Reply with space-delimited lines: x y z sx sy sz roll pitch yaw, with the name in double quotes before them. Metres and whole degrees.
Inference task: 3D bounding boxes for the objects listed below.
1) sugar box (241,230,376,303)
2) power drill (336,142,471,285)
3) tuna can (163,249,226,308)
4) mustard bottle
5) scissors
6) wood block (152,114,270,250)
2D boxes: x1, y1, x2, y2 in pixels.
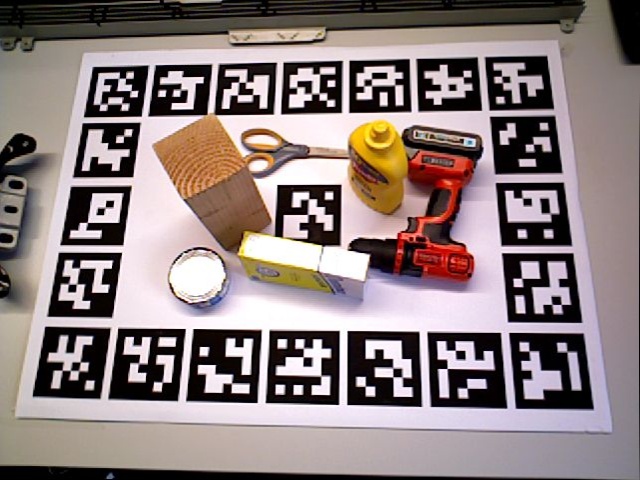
"sugar box" -0.015 0.039 0.745 0.176 0.094 0.045 12 70 6
"power drill" 0.130 -0.038 0.773 0.184 0.057 0.186 13 82 8
"tuna can" -0.178 0.054 0.779 0.085 0.034 0.085 -1 74 3
"mustard bottle" 0.081 -0.106 0.735 0.058 0.193 0.096 -39 75 -8
"scissors" -0.052 -0.140 0.838 0.202 0.016 0.087 2 70 5
"wood block" -0.139 -0.072 0.736 0.090 0.208 0.089 -27 73 -6
